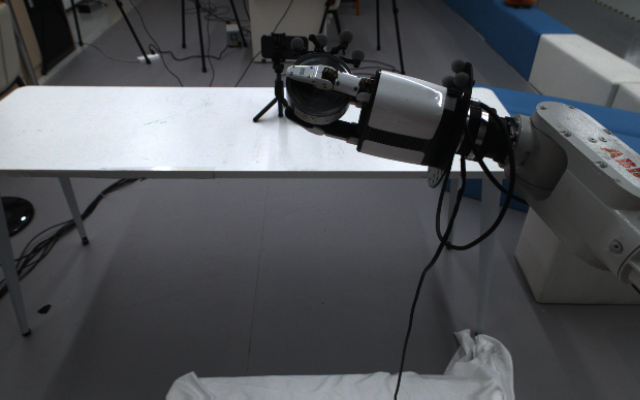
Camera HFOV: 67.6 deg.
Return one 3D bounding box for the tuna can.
[{"bbox_3d":[0.000,-0.141,0.612,0.085,0.034,0.085,1,74,-3],"label":"tuna can"}]
